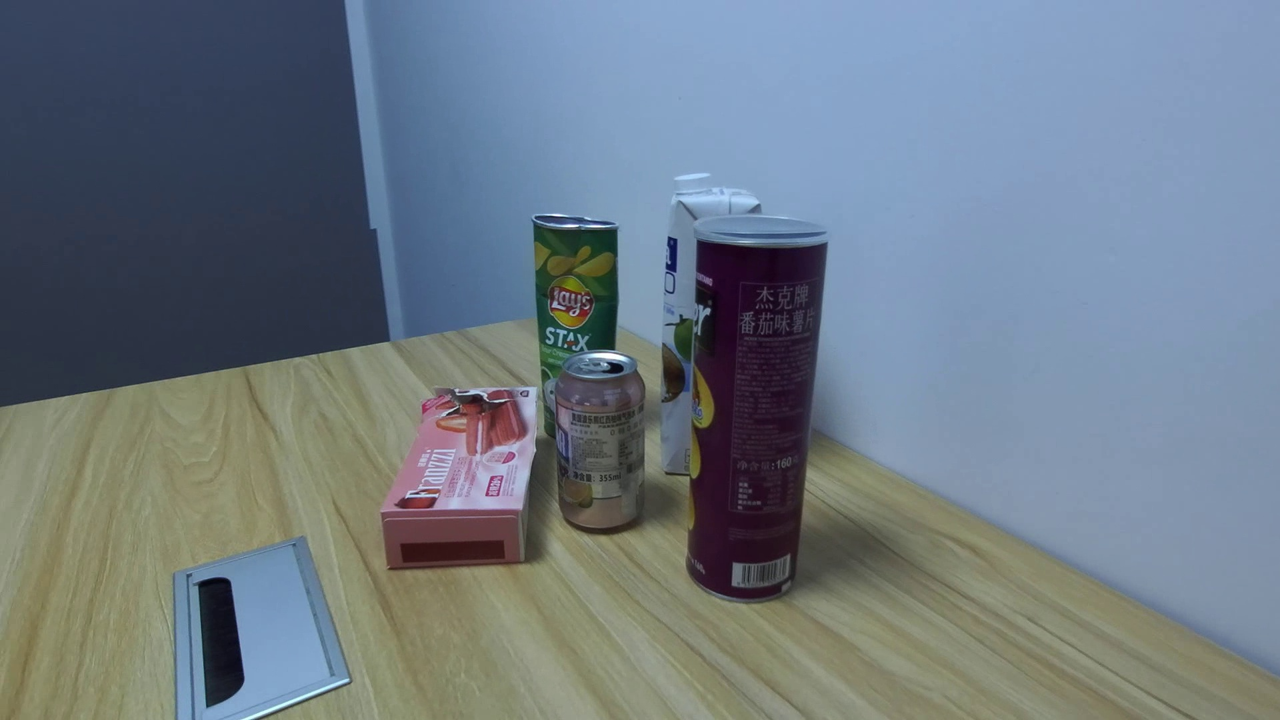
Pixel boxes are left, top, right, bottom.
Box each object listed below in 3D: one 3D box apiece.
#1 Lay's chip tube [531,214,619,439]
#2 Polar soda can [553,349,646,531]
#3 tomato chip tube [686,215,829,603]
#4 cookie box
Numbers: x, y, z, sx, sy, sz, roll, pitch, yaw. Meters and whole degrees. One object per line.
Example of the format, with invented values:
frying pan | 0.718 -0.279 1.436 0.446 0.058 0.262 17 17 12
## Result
Lay's chip tube | -0.057 -0.029 0.651 0.075 0.199 0.069 -3 22 -7
Polar soda can | -0.030 0.060 0.534 0.067 0.125 0.067 0 21 0
tomato chip tube | 0.071 0.034 0.445 0.078 0.234 0.078 0 21 0
cookie box | -0.134 0.083 0.561 0.105 0.059 0.185 -3 22 -5
